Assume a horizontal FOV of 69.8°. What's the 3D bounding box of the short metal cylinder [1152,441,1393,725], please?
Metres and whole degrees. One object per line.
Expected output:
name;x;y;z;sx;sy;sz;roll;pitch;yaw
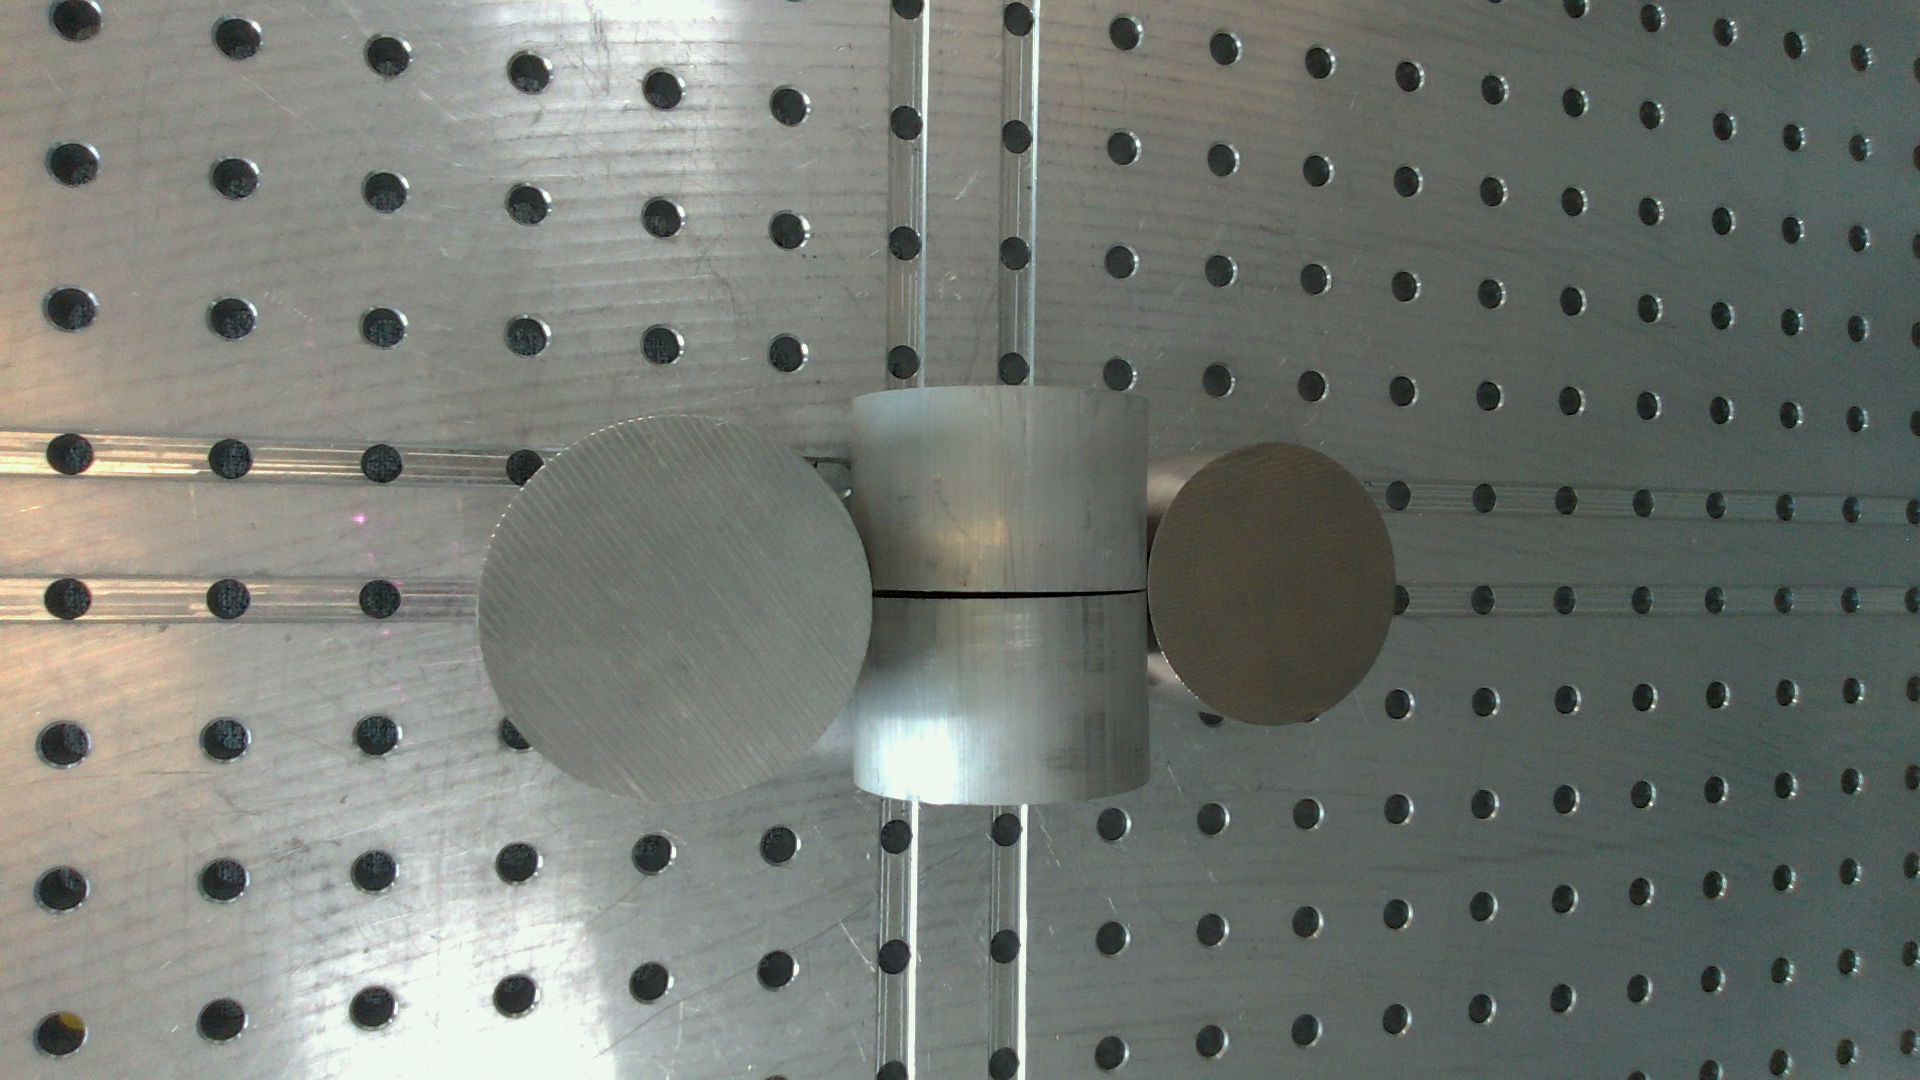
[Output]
short metal cylinder;0.081;0.012;0.412;0.080;0.050;0.080;0;90;-20

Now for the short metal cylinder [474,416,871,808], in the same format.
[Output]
short metal cylinder;-0.065;0.015;0.305;0.080;0.050;0.080;0;90;-20

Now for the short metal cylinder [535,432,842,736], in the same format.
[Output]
short metal cylinder;-0.071;0.011;0.357;0.080;0.050;0.080;0;90;-20

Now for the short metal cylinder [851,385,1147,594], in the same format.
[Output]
short metal cylinder;0.010;-0.013;0.371;0.080;0.080;0.050;1;91;-20

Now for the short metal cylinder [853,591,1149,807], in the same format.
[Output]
short metal cylinder;0.011;0.039;0.371;0.080;0.080;0.050;-1;91;-20
